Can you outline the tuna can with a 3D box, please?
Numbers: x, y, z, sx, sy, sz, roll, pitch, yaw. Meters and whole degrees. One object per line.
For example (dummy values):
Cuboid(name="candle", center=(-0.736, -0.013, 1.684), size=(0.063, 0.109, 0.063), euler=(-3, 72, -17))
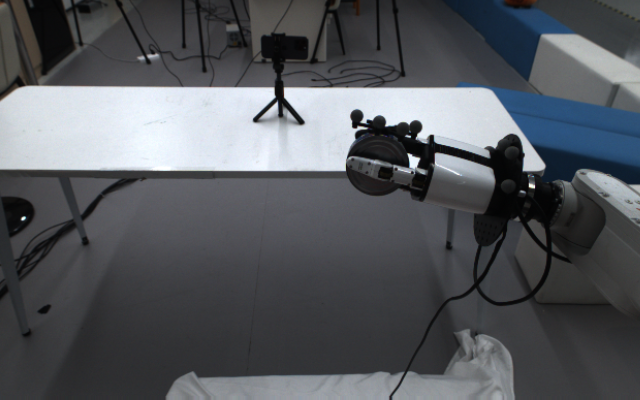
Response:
Cuboid(name="tuna can", center=(0.079, -0.054, 0.666), size=(0.085, 0.085, 0.034), euler=(5, 18, 4))
